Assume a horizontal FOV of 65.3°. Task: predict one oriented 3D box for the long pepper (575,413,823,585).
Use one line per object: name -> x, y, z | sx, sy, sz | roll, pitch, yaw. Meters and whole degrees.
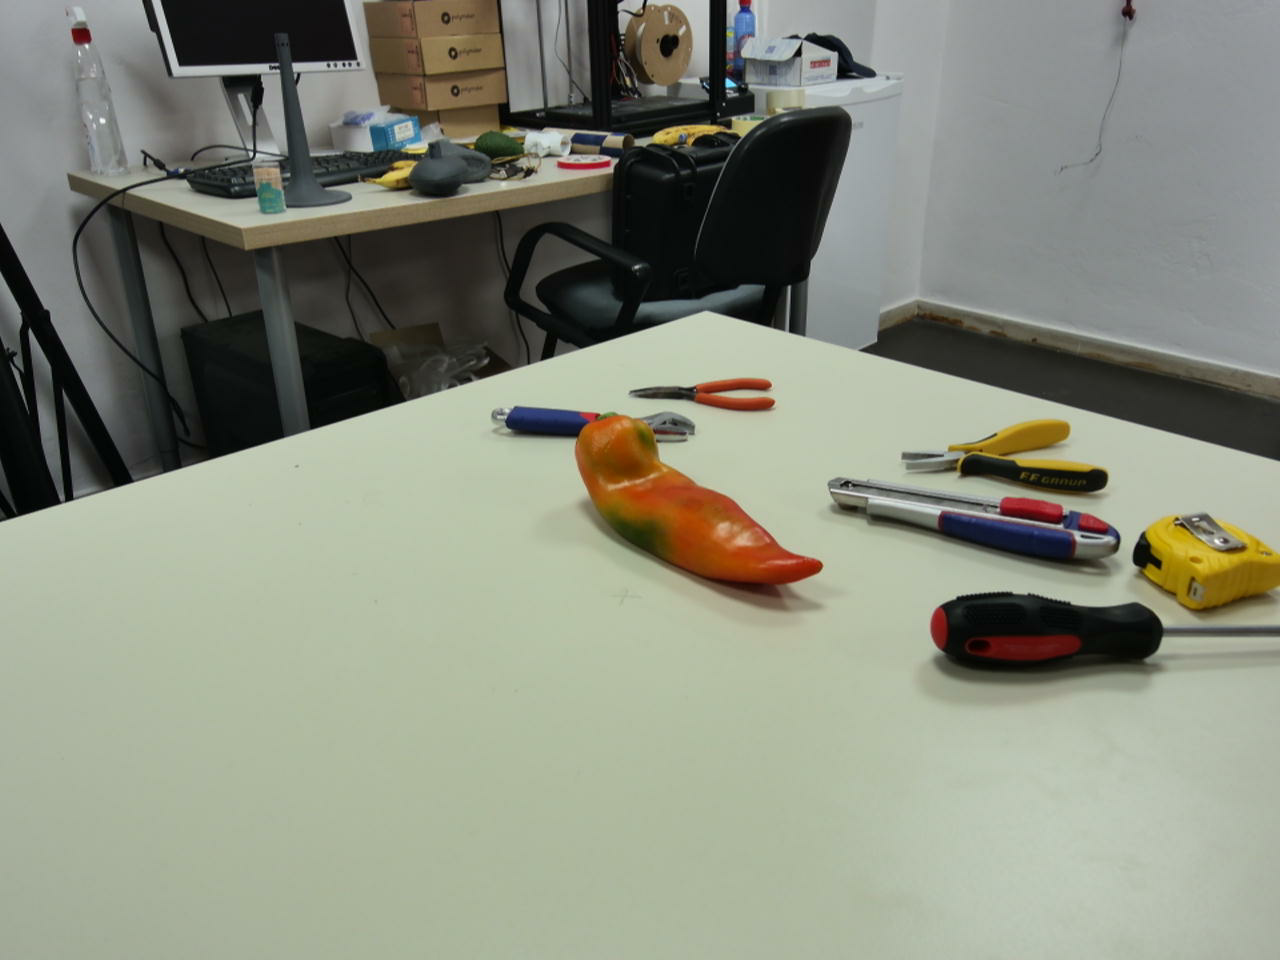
long pepper -> 0.030, 0.012, 0.608 | 0.066, 0.065, 0.199 | -17, 29, -33
